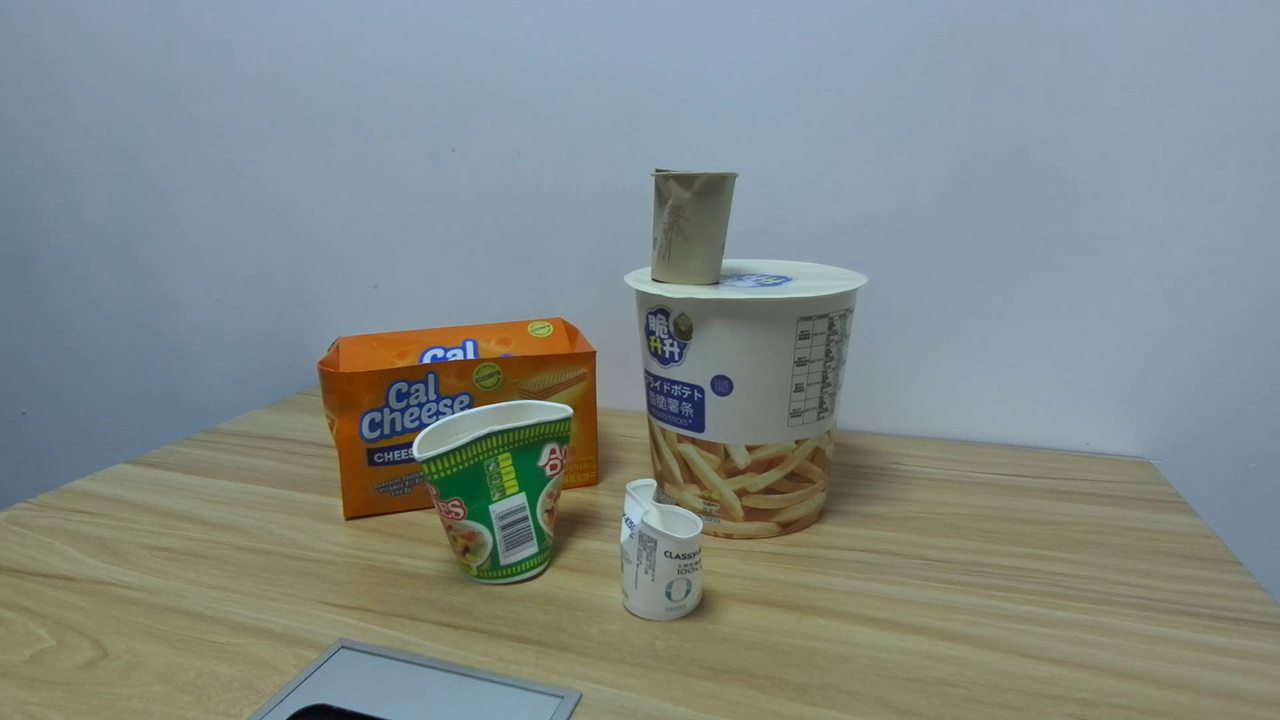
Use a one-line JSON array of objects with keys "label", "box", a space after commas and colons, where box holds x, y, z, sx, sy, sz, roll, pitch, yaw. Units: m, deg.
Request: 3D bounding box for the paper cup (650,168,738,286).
[{"label": "paper cup", "box": [0.041, -0.102, 0.540, 0.072, 0.084, 0.066, -1, 15, -14]}]

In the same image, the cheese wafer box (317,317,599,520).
[{"label": "cheese wafer box", "box": [-0.163, 0.047, 0.657, 0.231, 0.132, 0.151, -5, 17, -16]}]

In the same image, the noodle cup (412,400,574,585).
[{"label": "noodle cup", "box": [-0.098, 0.093, 0.504, 0.115, 0.111, 0.070, -6, 18, -20]}]

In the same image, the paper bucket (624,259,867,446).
[{"label": "paper bucket", "box": [0.083, 0.026, 0.584, 0.198, 0.194, 0.198, -1, 16, 0]}]
